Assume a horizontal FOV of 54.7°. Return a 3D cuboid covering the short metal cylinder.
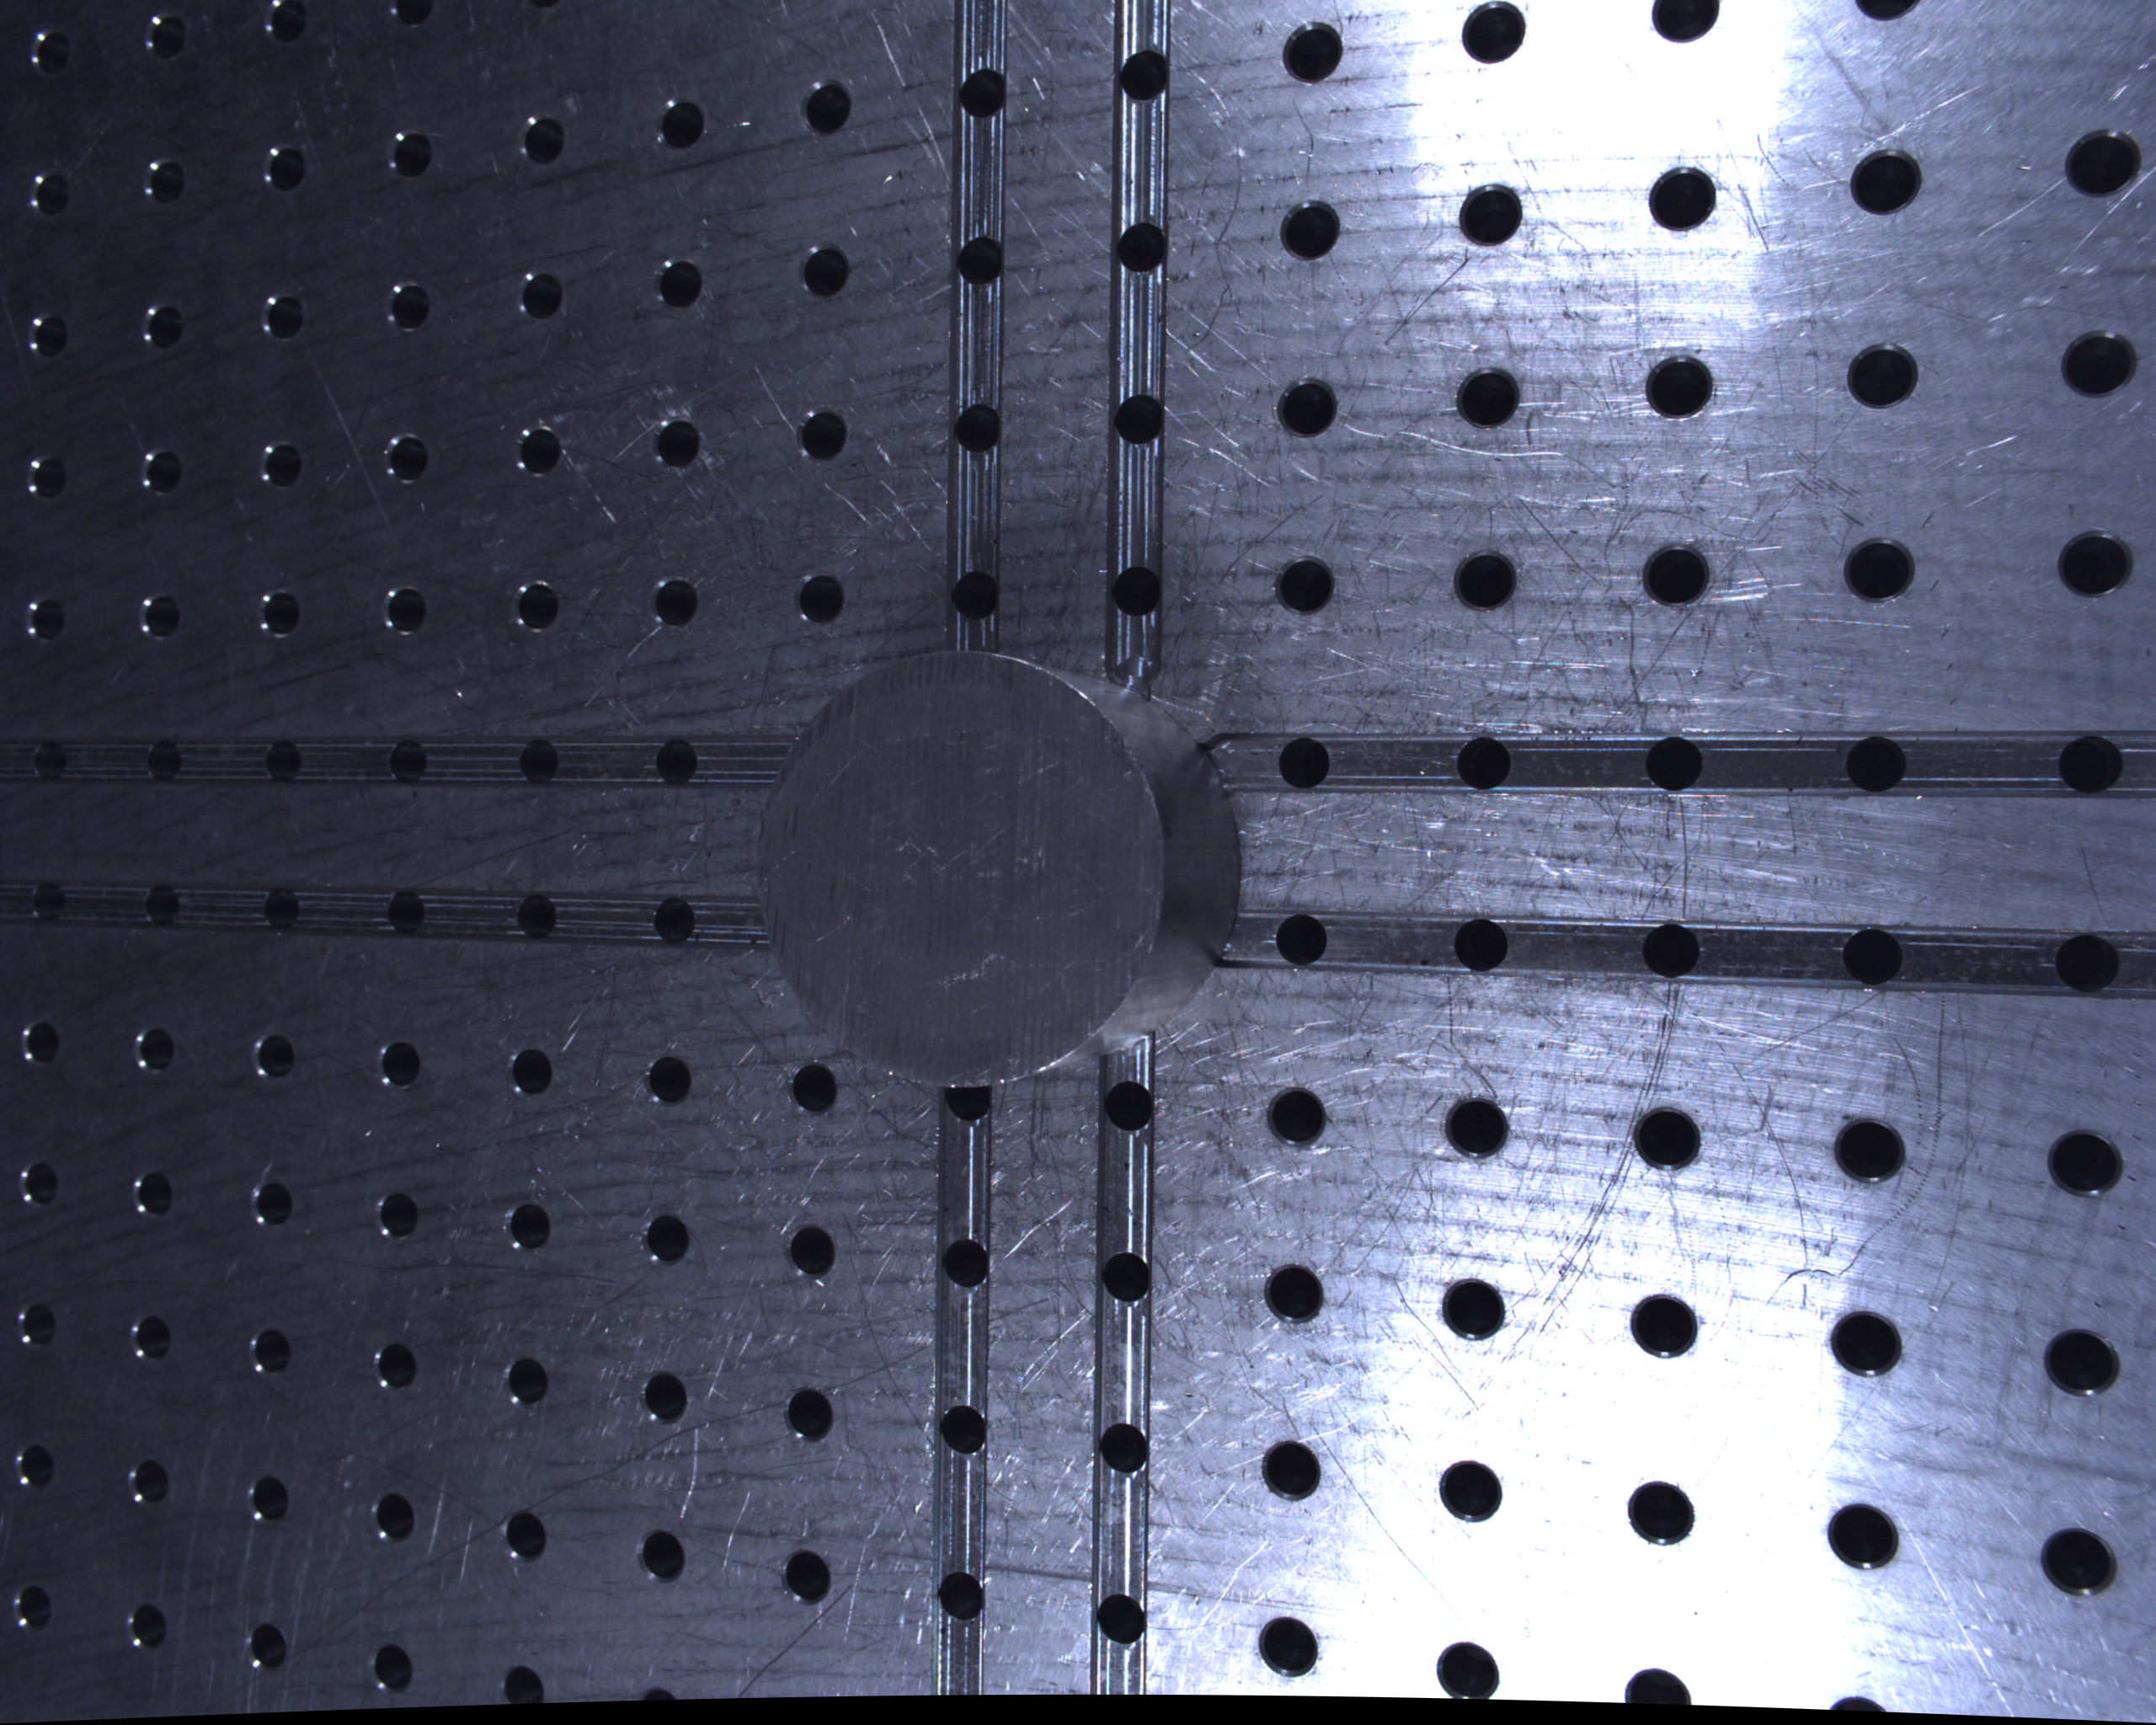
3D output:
[{"bbox_3d":[-0.014,0.001,0.403,0.080,0.050,0.079,0,90,19],"label":"short metal cylinder"}]
